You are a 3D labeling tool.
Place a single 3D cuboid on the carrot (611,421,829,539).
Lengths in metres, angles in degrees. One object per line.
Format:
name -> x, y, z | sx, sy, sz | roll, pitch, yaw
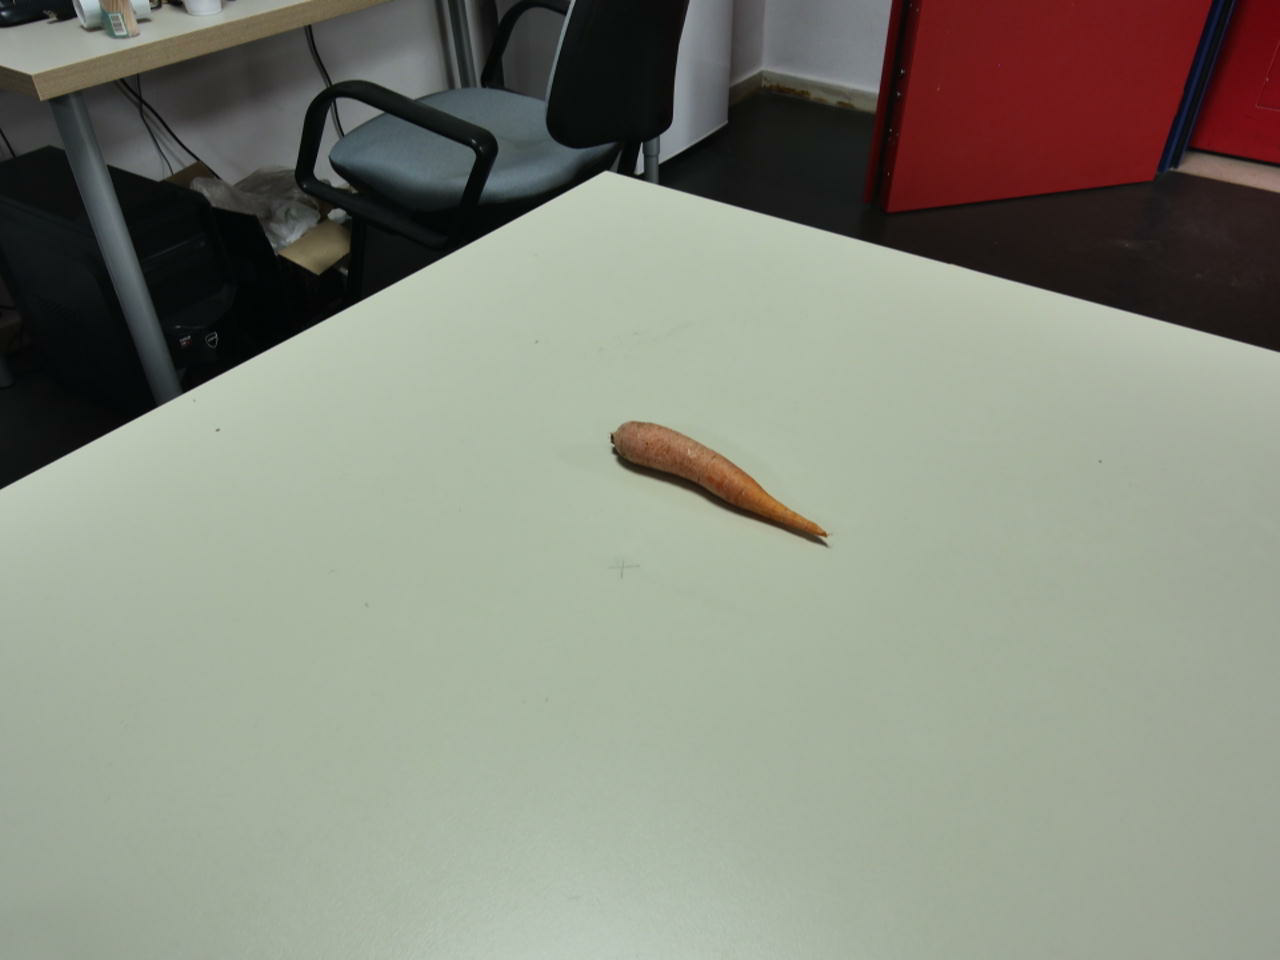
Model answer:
carrot -> 0.047, -0.004, 0.620 | 0.163, 0.029, 0.031 | 25, 44, 28
